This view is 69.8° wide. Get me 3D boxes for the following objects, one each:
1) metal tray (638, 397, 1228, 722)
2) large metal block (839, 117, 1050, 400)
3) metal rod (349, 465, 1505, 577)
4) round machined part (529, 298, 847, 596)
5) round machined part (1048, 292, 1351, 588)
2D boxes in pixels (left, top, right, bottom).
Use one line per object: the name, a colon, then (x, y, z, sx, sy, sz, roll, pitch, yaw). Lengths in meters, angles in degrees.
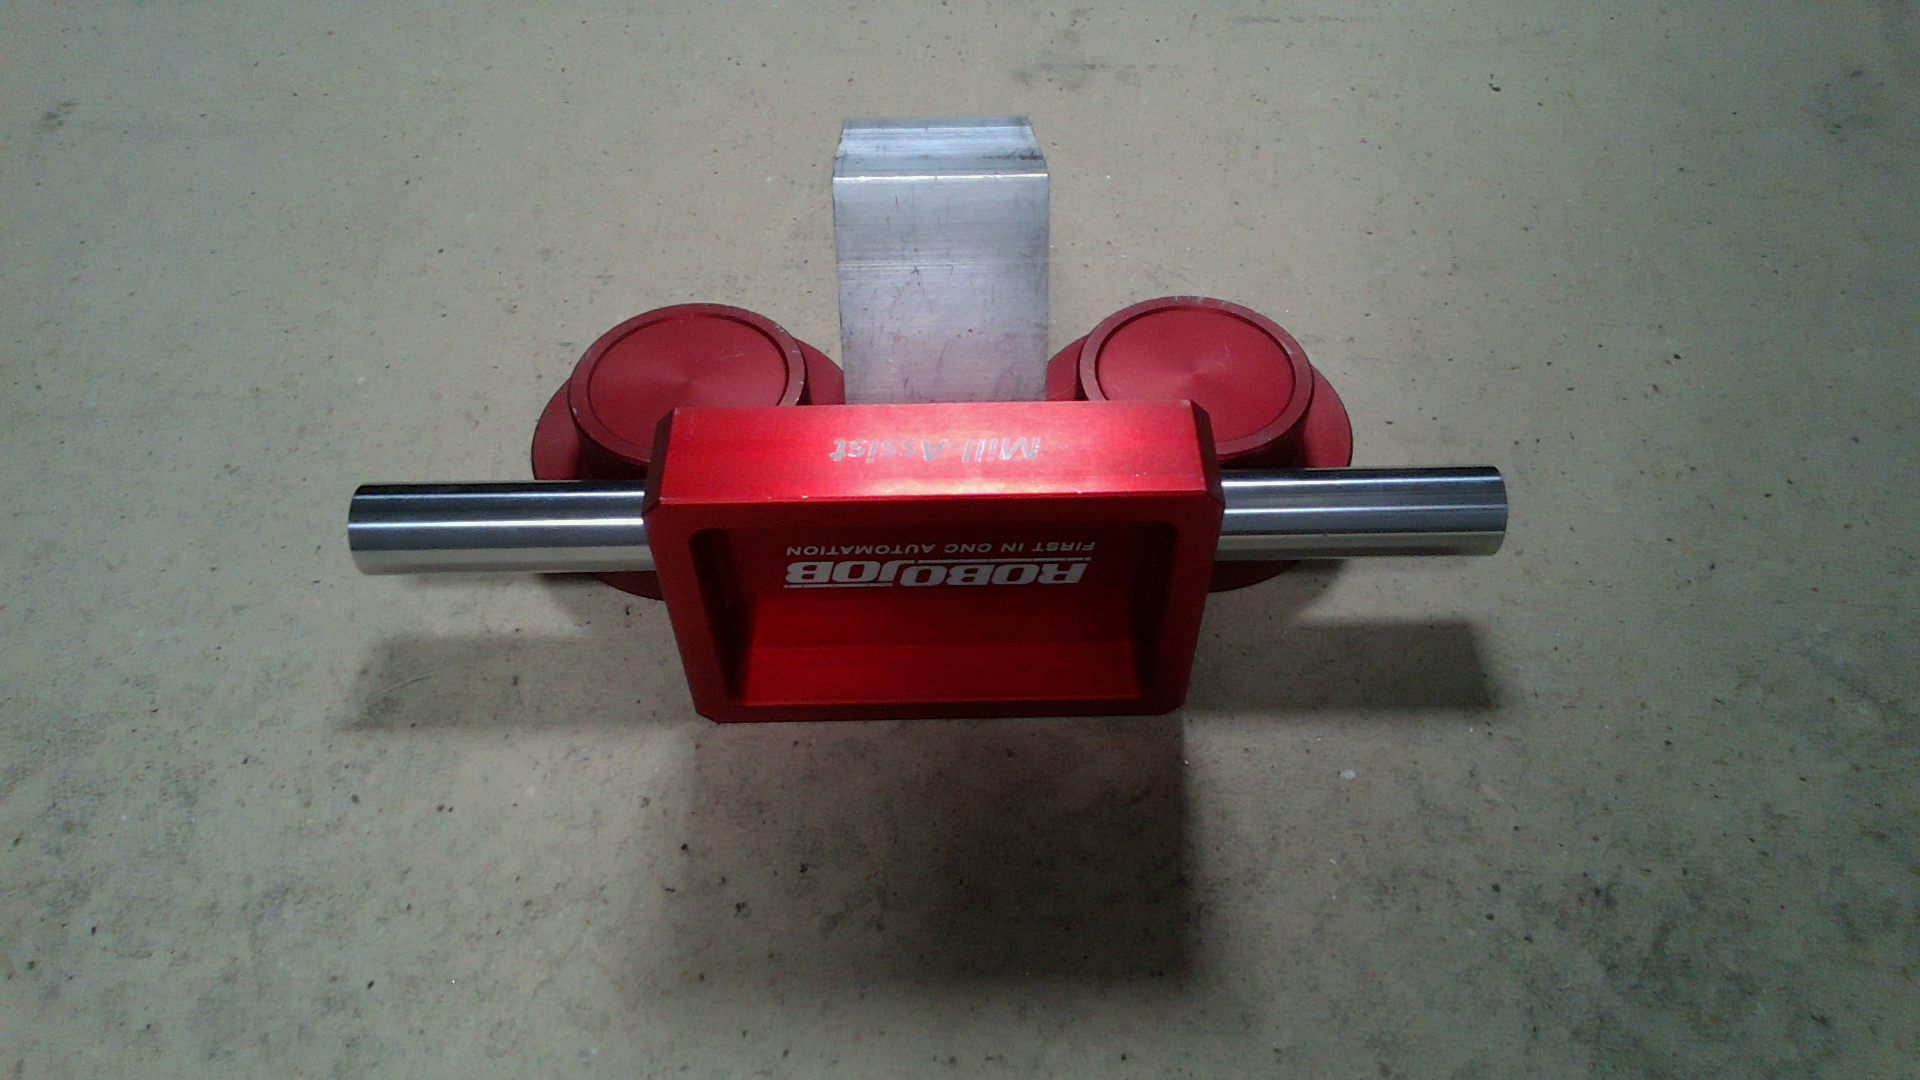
metal tray: (-0.006, 0.008, 0.343, 0.130, 0.090, 0.030, -1, 50, -1)
large metal block: (-0.004, -0.070, 0.379, 0.050, 0.080, 0.080, -1, 26, -1)
metal rod: (-0.008, -0.005, 0.369, 0.300, 0.025, 0.025, -1, 50, -1)
round machined part: (-0.078, -0.034, 0.407, 0.098, 0.042, 0.098, 0, 50, 0)
round machined part: (0.067, -0.036, 0.410, 0.098, 0.042, 0.098, 0, 50, 0)
